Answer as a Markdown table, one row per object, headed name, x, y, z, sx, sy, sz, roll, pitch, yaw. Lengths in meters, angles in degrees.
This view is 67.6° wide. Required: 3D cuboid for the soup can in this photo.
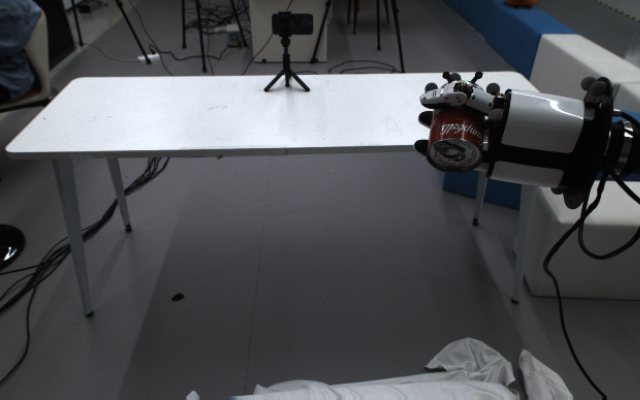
| name | x | y | z | sx | sy | sz | roll | pitch | yaw |
| --- | --- | --- | --- | --- | --- | --- | --- | --- | --- |
| soup can | 0.177 | -0.096 | 0.617 | 0.067 | 0.067 | 0.101 | 9 | 58 | 10 |
